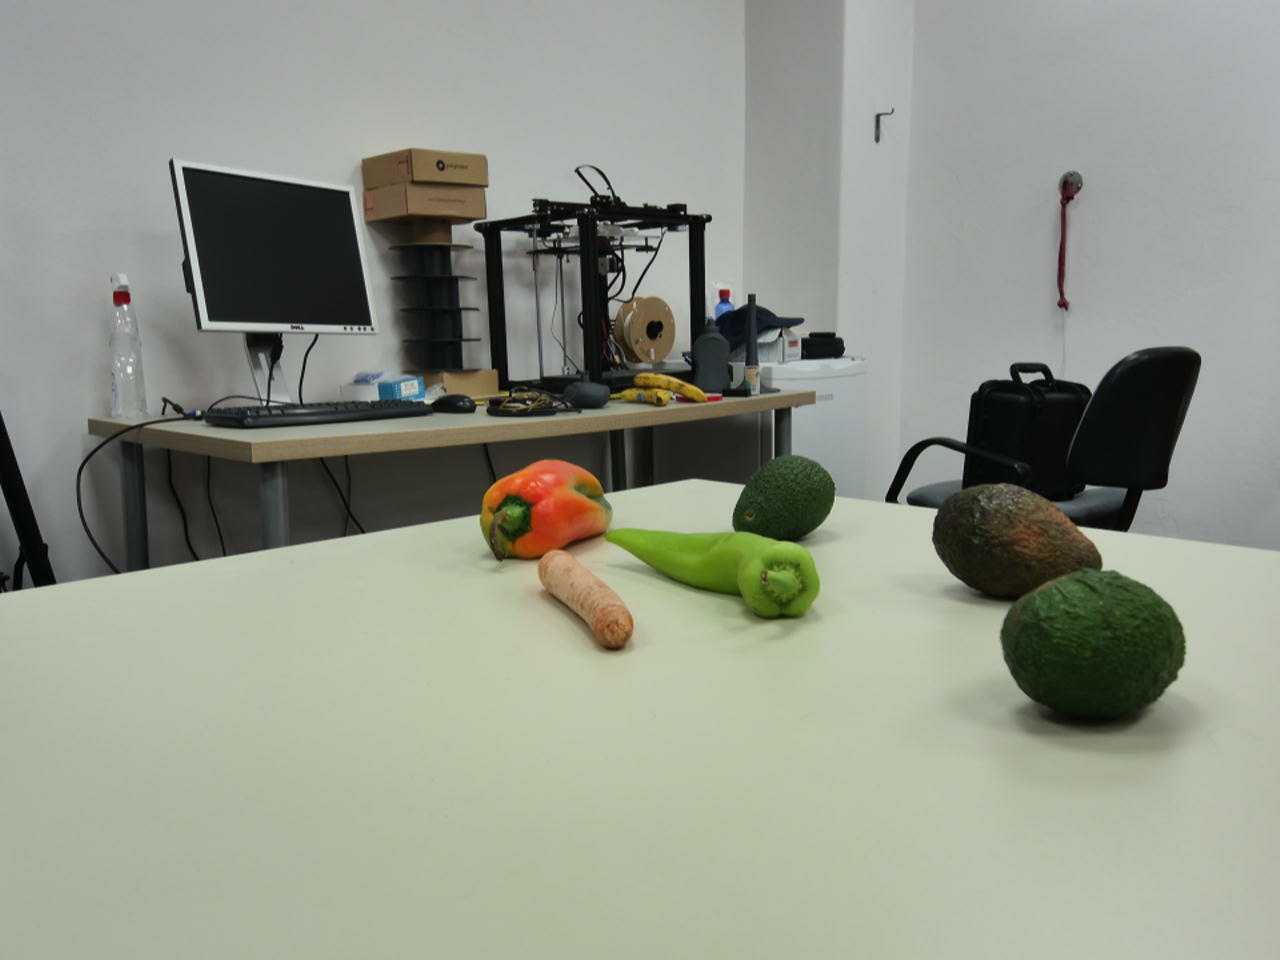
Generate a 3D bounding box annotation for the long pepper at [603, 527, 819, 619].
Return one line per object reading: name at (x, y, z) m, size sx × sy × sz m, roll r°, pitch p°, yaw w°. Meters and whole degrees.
long pepper at (0.049, 0.050, 0.646) m, size 0.065 × 0.045 × 0.205 m, roll -3°, pitch 7°, yaw -27°
